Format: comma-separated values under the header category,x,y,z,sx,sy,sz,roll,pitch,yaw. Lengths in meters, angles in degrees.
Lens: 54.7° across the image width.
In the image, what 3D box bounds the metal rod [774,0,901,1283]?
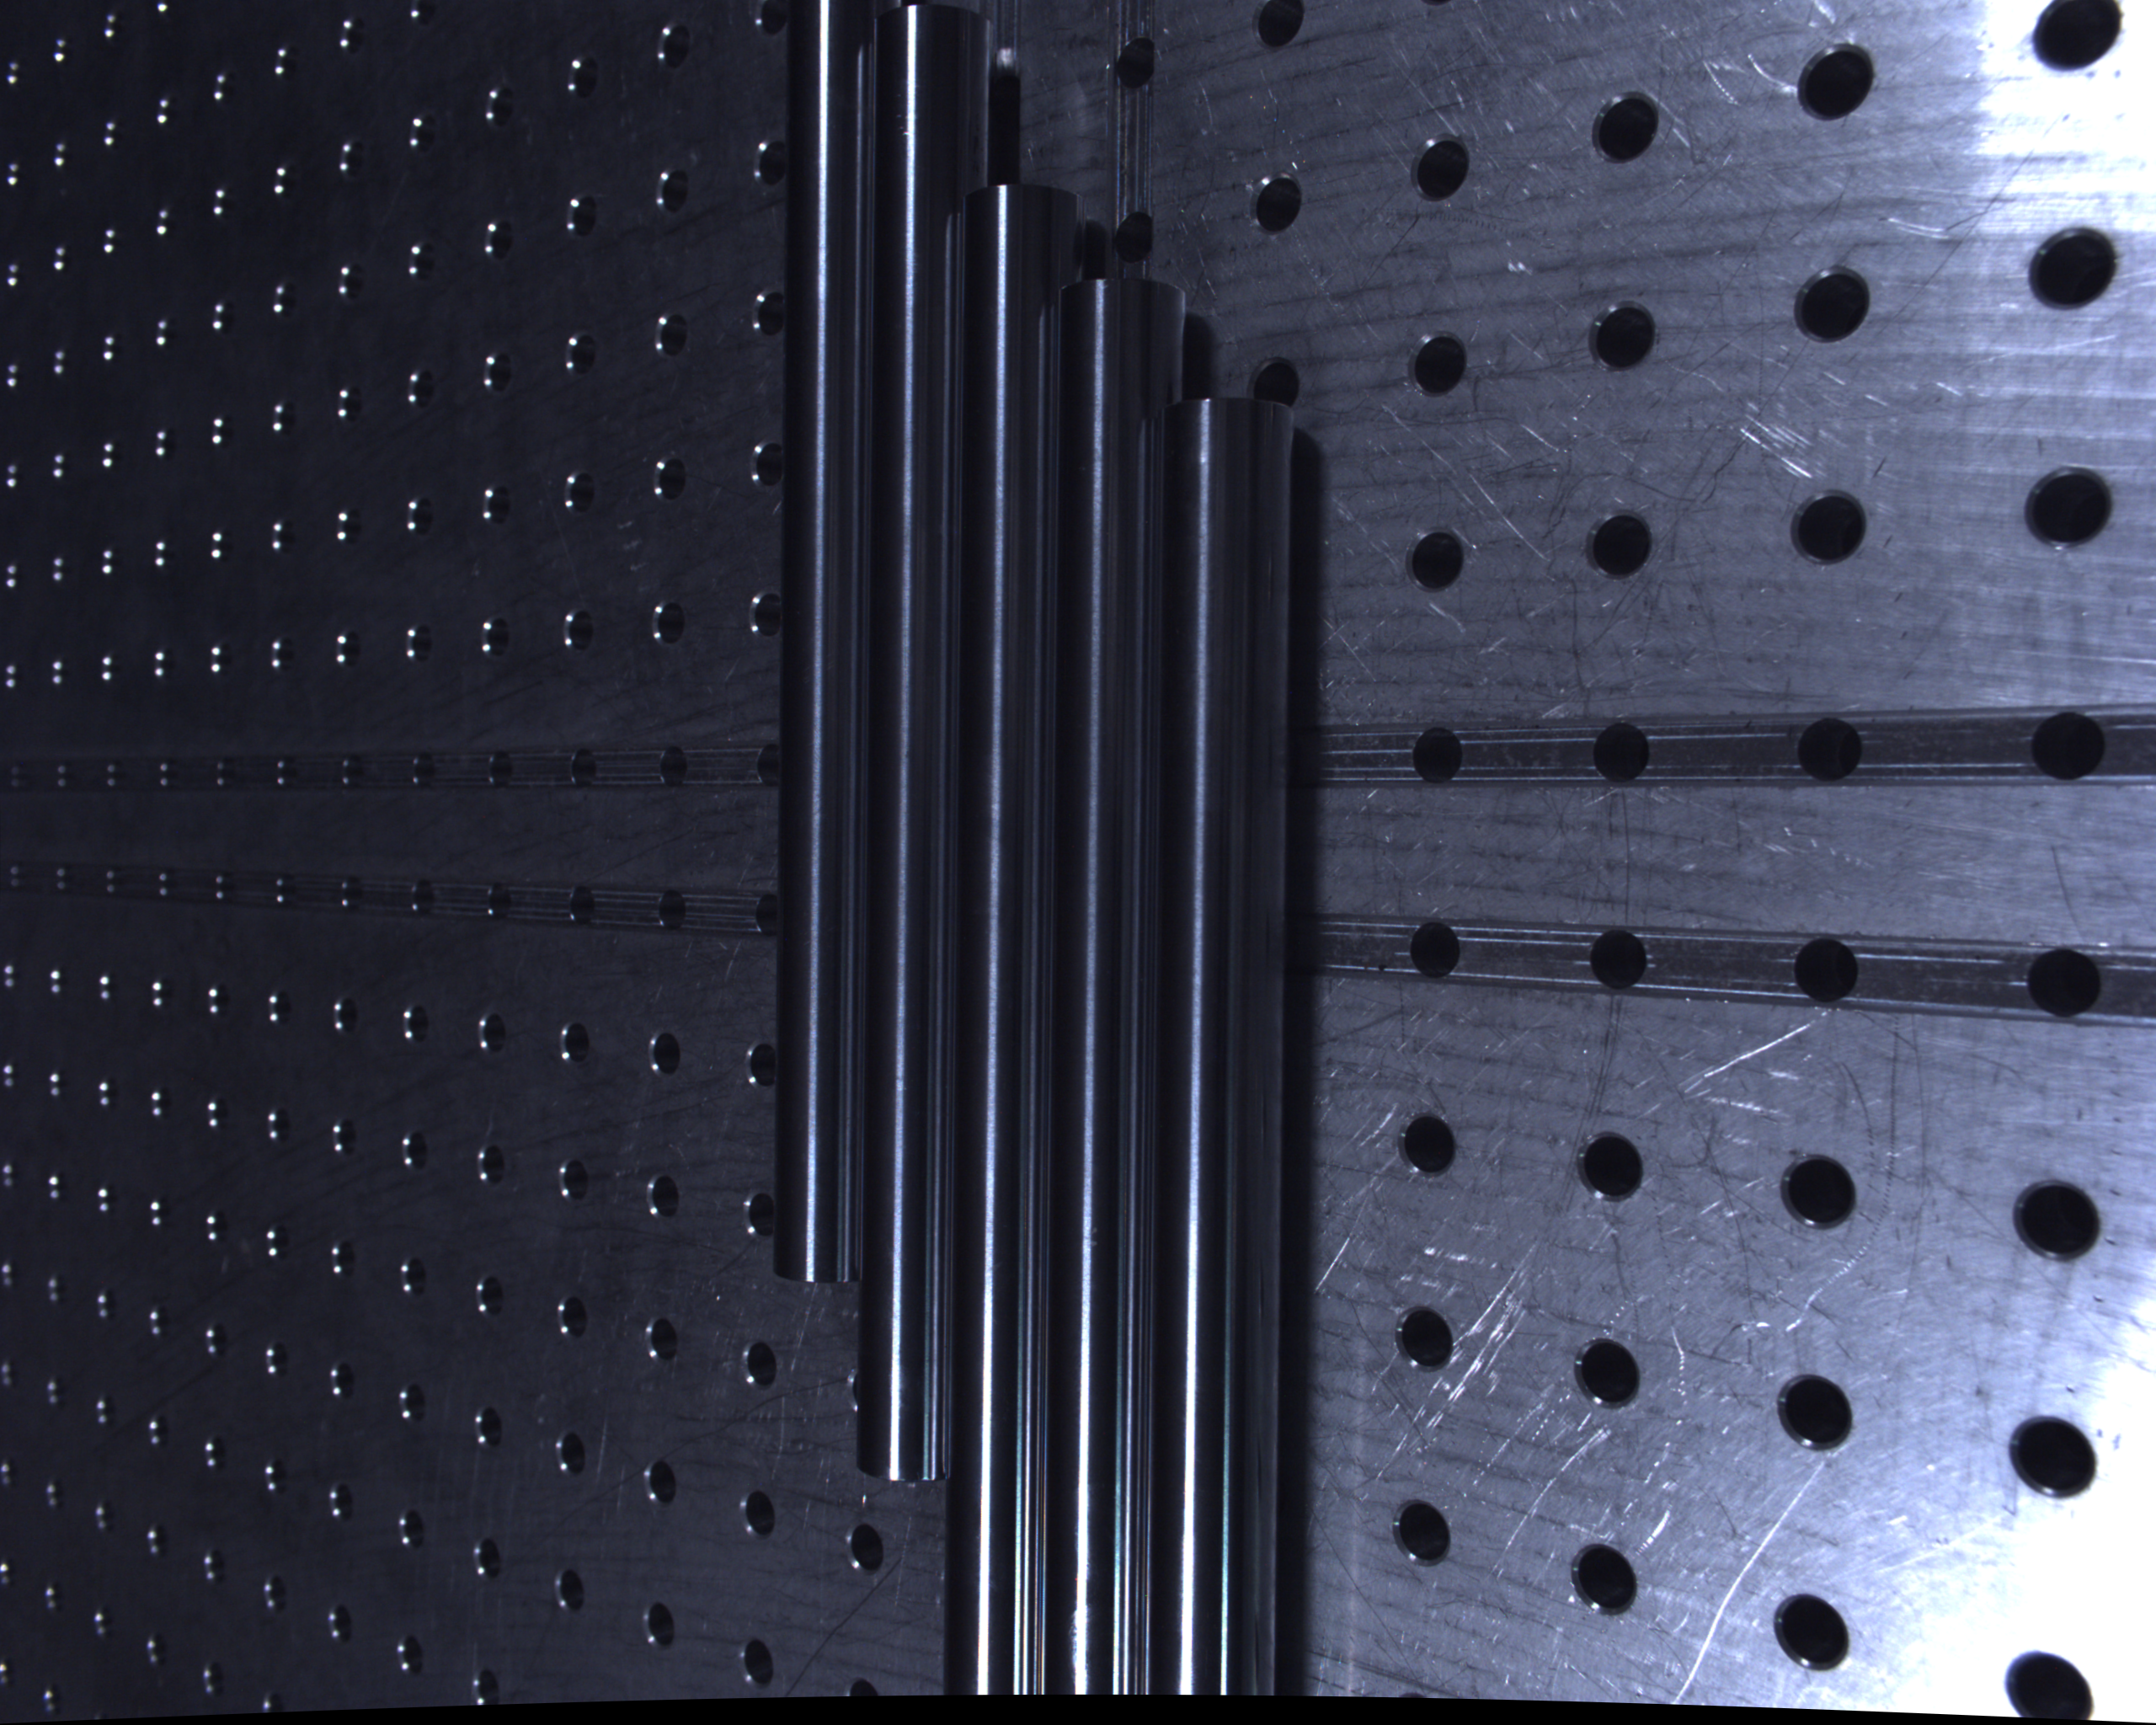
category,x,y,z,sx,sy,sz,roll,pitch,yaw
metal rod,-0.051,-0.061,0.449,0.025,0.025,0.298,1,91,39

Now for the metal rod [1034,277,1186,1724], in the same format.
category,x,y,z,sx,sy,sz,roll,pitch,yaw
metal rod,0.006,0.040,0.402,0.025,0.025,0.298,1,91,39

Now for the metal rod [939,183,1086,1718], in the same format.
category,x,y,z,sx,sy,sz,roll,pitch,yaw
metal rod,-0.013,0.018,0.417,0.025,0.025,0.298,1,91,39

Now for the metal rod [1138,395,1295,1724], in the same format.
category,x,y,z,sx,sy,sz,roll,pitch,yaw
metal rod,0.025,0.066,0.386,0.025,0.025,0.298,1,91,39

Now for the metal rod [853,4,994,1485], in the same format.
category,x,y,z,sx,sy,sz,roll,pitch,yaw
metal rod,-0.032,-0.023,0.432,0.025,0.025,0.298,1,91,39
